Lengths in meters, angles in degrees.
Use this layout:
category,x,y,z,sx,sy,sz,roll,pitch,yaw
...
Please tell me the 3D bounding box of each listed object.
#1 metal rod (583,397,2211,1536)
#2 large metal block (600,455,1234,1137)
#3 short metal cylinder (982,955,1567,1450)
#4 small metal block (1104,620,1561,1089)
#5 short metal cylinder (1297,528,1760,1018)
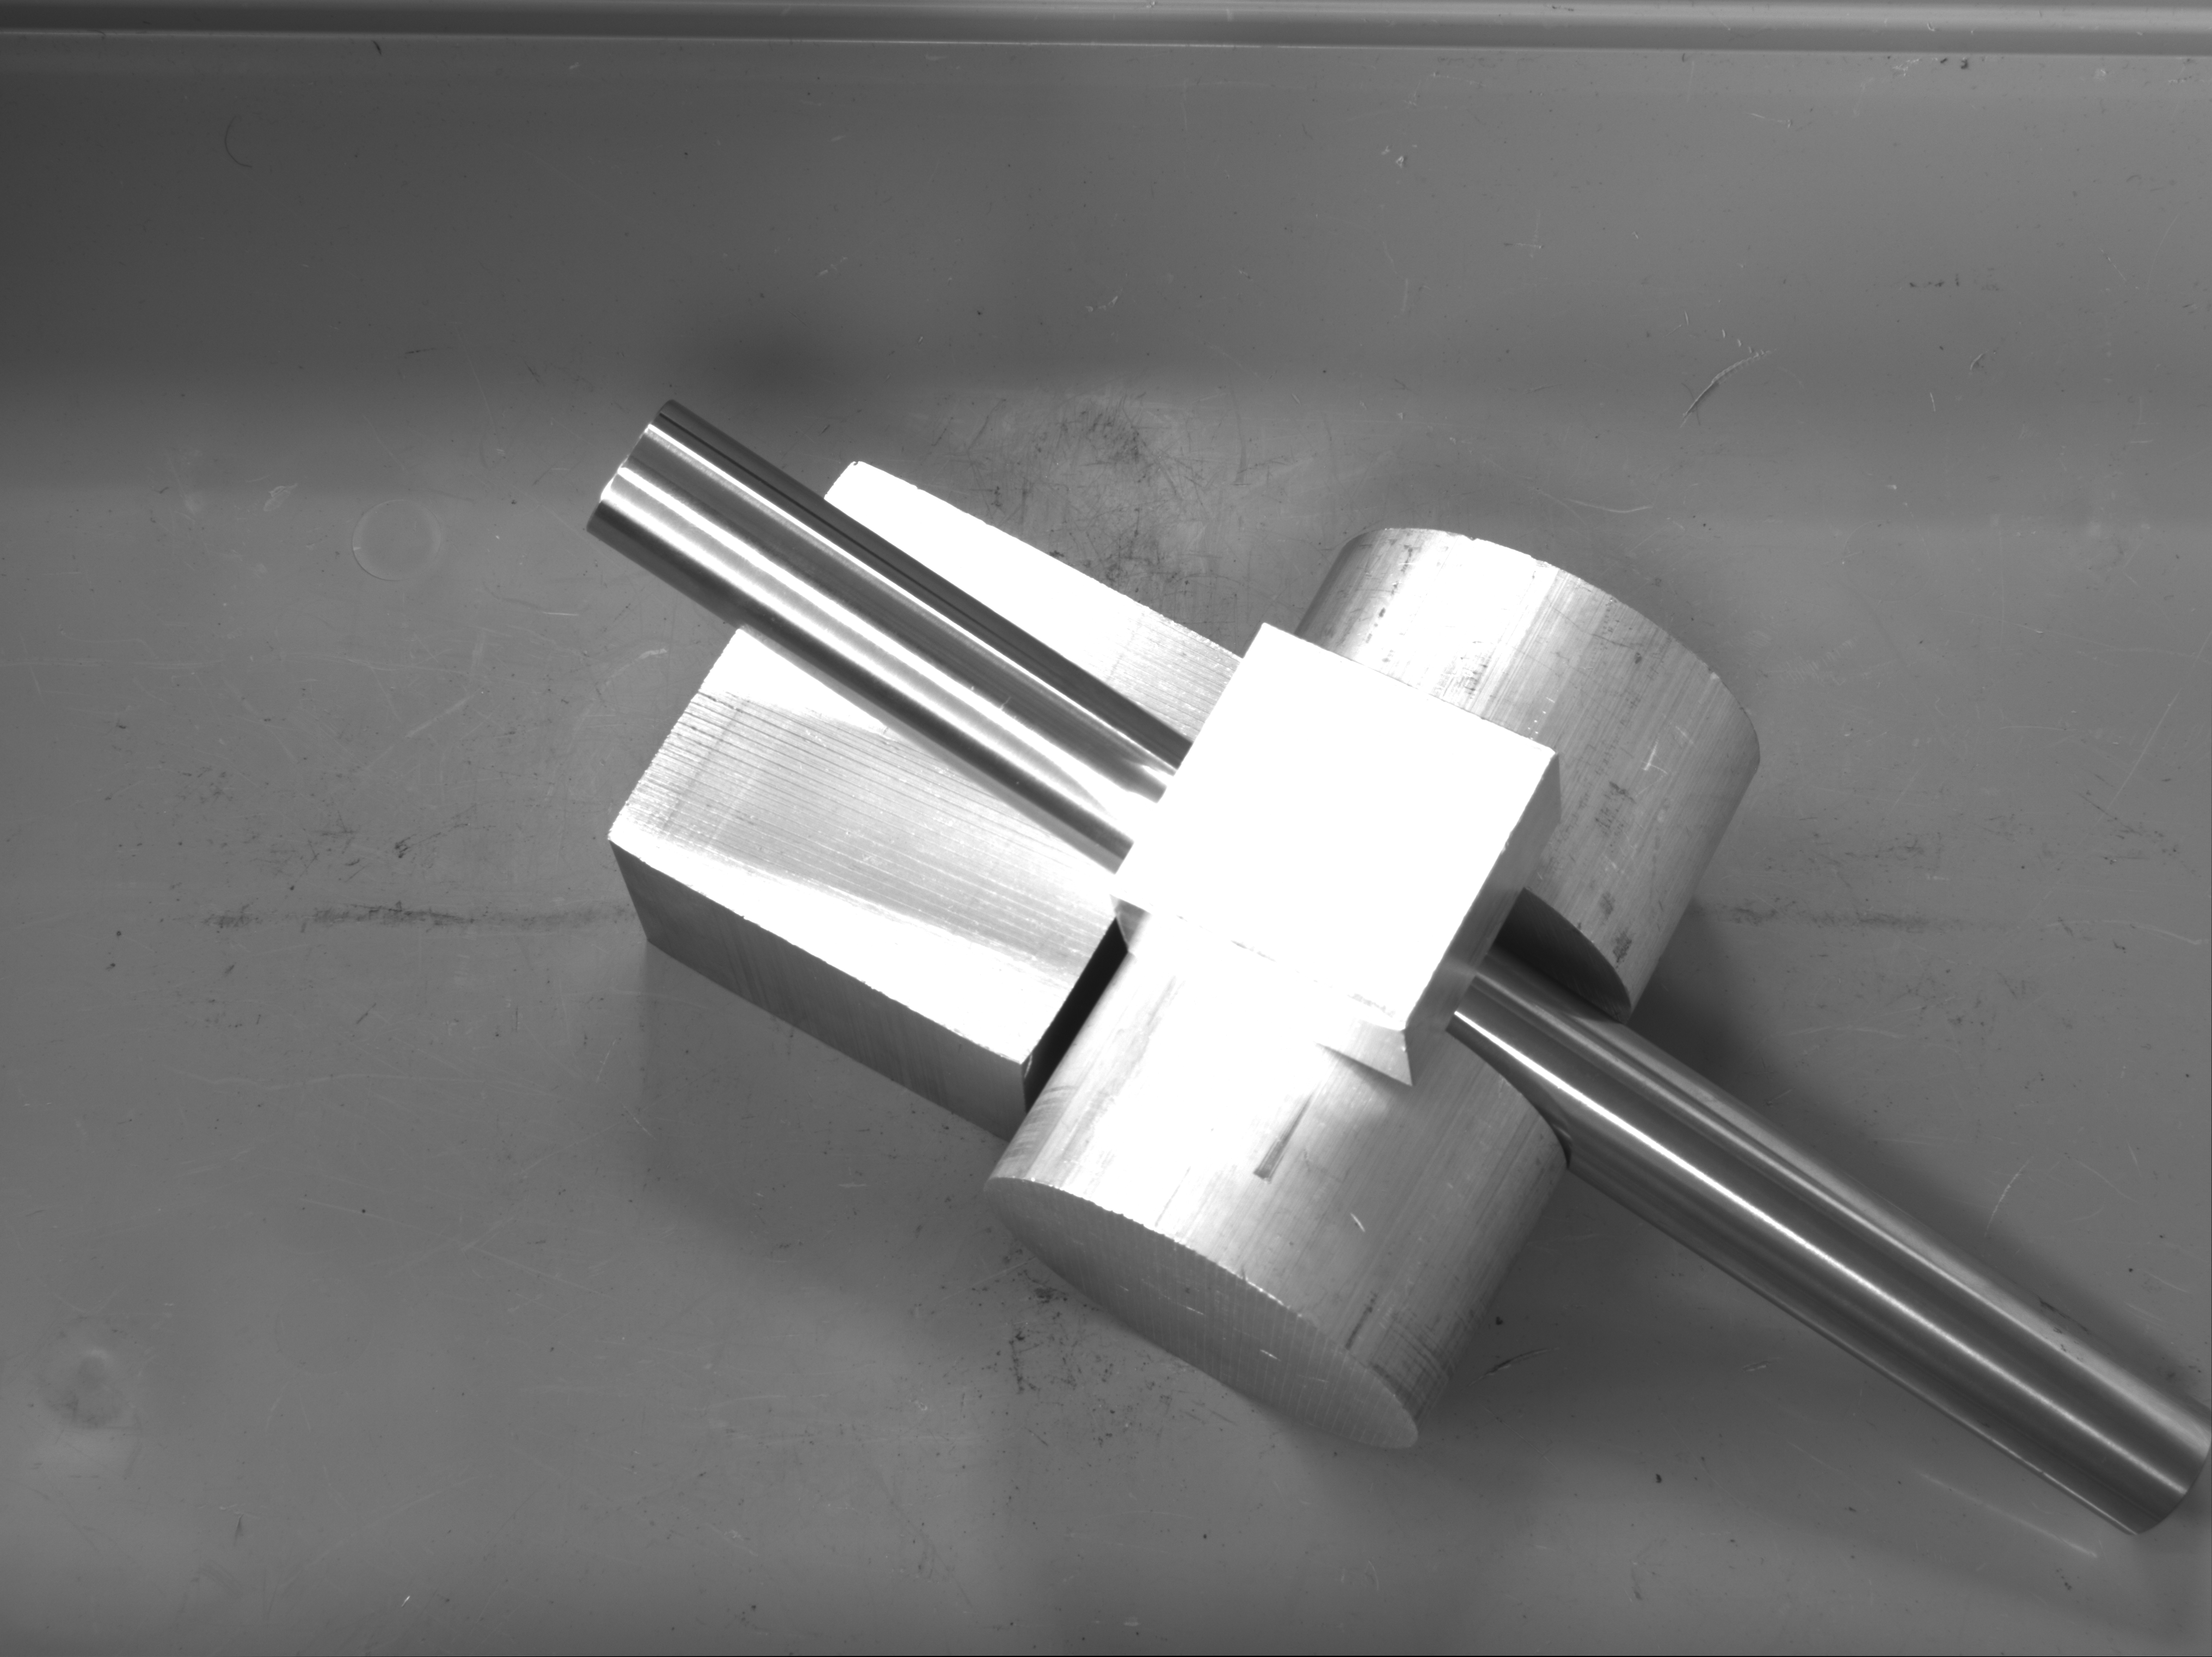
category,x,y,z,sx,sy,sz,roll,pitch,yaw
metal rod,0.049,0.024,0.593,0.300,0.025,0.025,33,73,-5
large metal block,-0.028,-0.004,0.630,0.080,0.050,0.080,28,72,10
short metal cylinder,0.027,0.058,0.594,0.080,0.080,0.050,29,72,10
small metal block,0.035,0.004,0.559,0.050,0.025,0.050,25,72,18
short metal cylinder,0.063,-0.006,0.618,0.080,0.080,0.050,26,72,9
